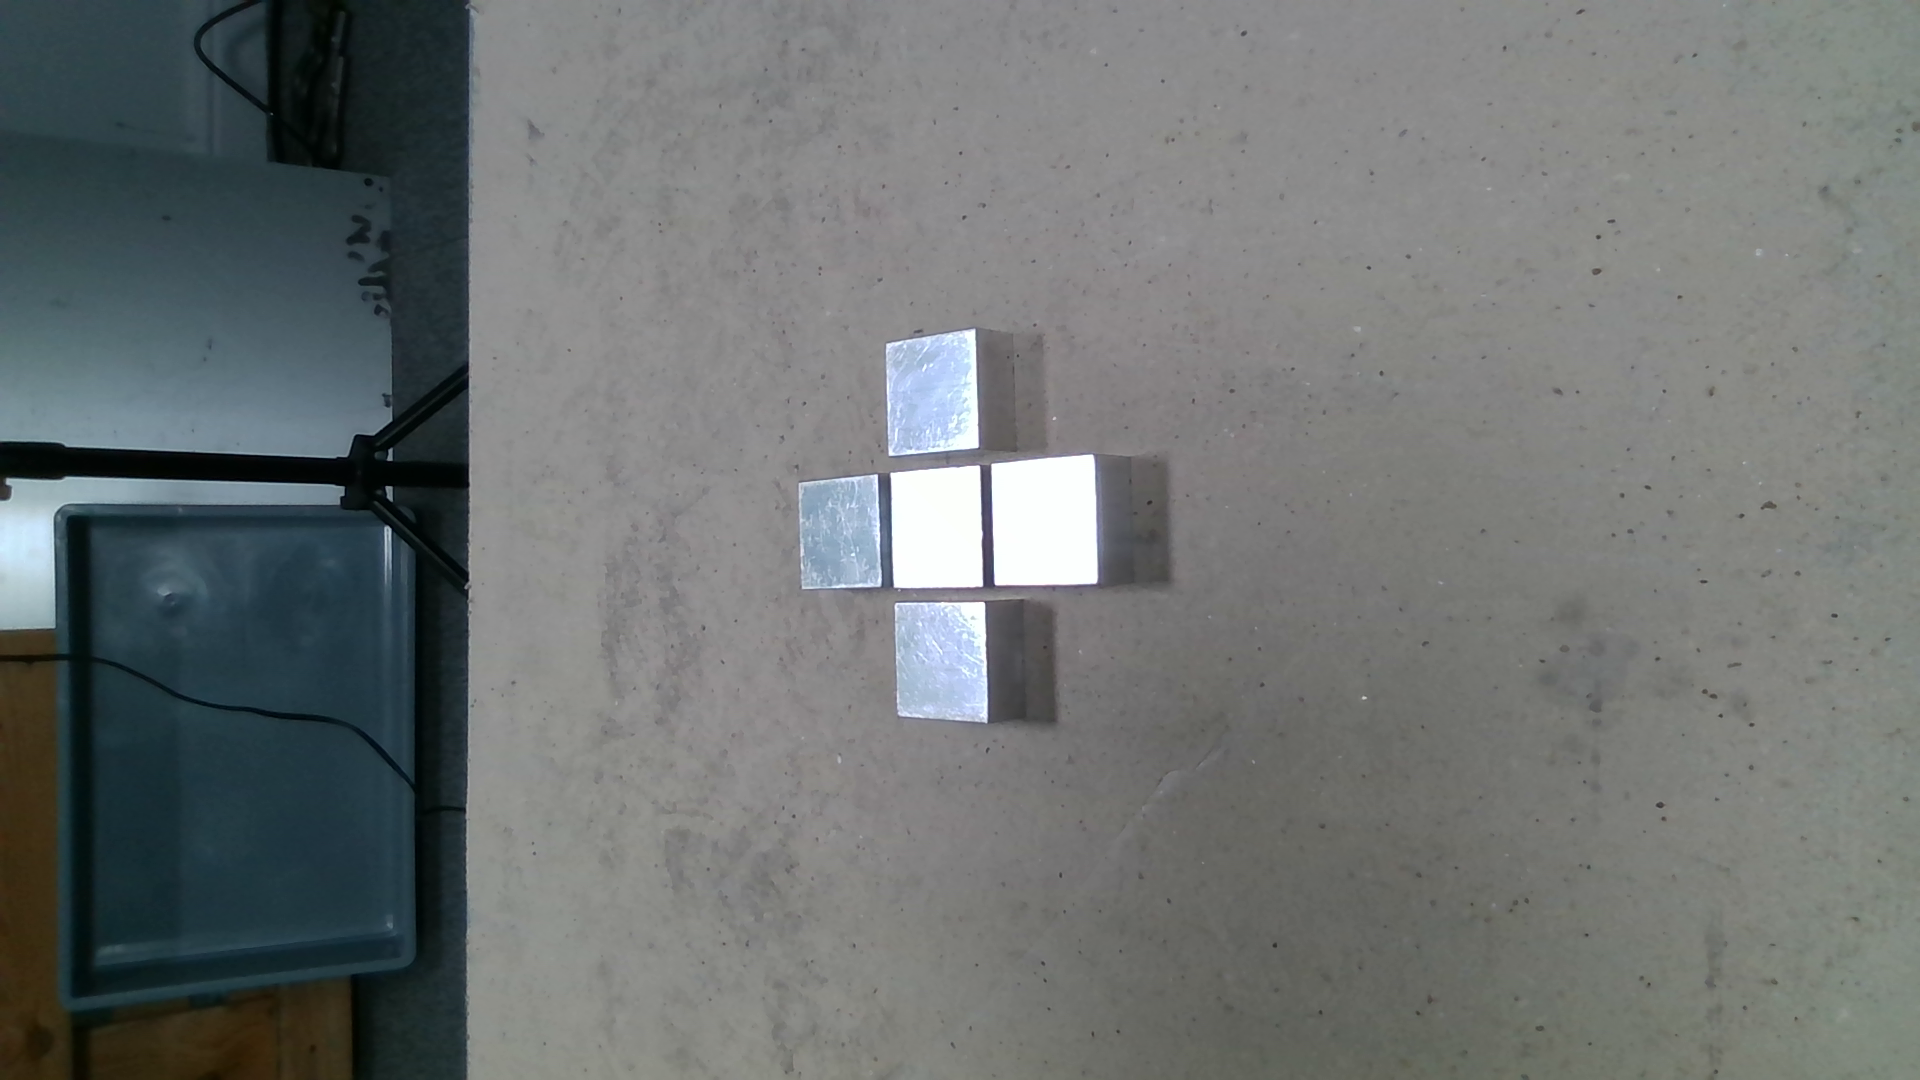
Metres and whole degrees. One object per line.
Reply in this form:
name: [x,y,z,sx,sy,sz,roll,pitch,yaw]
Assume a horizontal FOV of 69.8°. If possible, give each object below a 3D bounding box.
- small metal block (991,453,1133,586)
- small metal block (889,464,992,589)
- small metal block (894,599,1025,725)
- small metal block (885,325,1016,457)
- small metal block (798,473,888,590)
small metal block: [0.040,-0.007,0.548,0.050,0.025,0.050,-2,89,40]
small metal block: [-0.002,-0.005,0.584,0.050,0.025,0.050,-2,89,40]
small metal block: [-0.001,0.051,0.583,0.050,0.025,0.050,-2,89,40]
small metal block: [-0.004,-0.062,0.585,0.050,0.025,0.050,-2,89,40]
small metal block: [-0.046,-0.003,0.621,0.050,0.025,0.050,-3,89,40]
